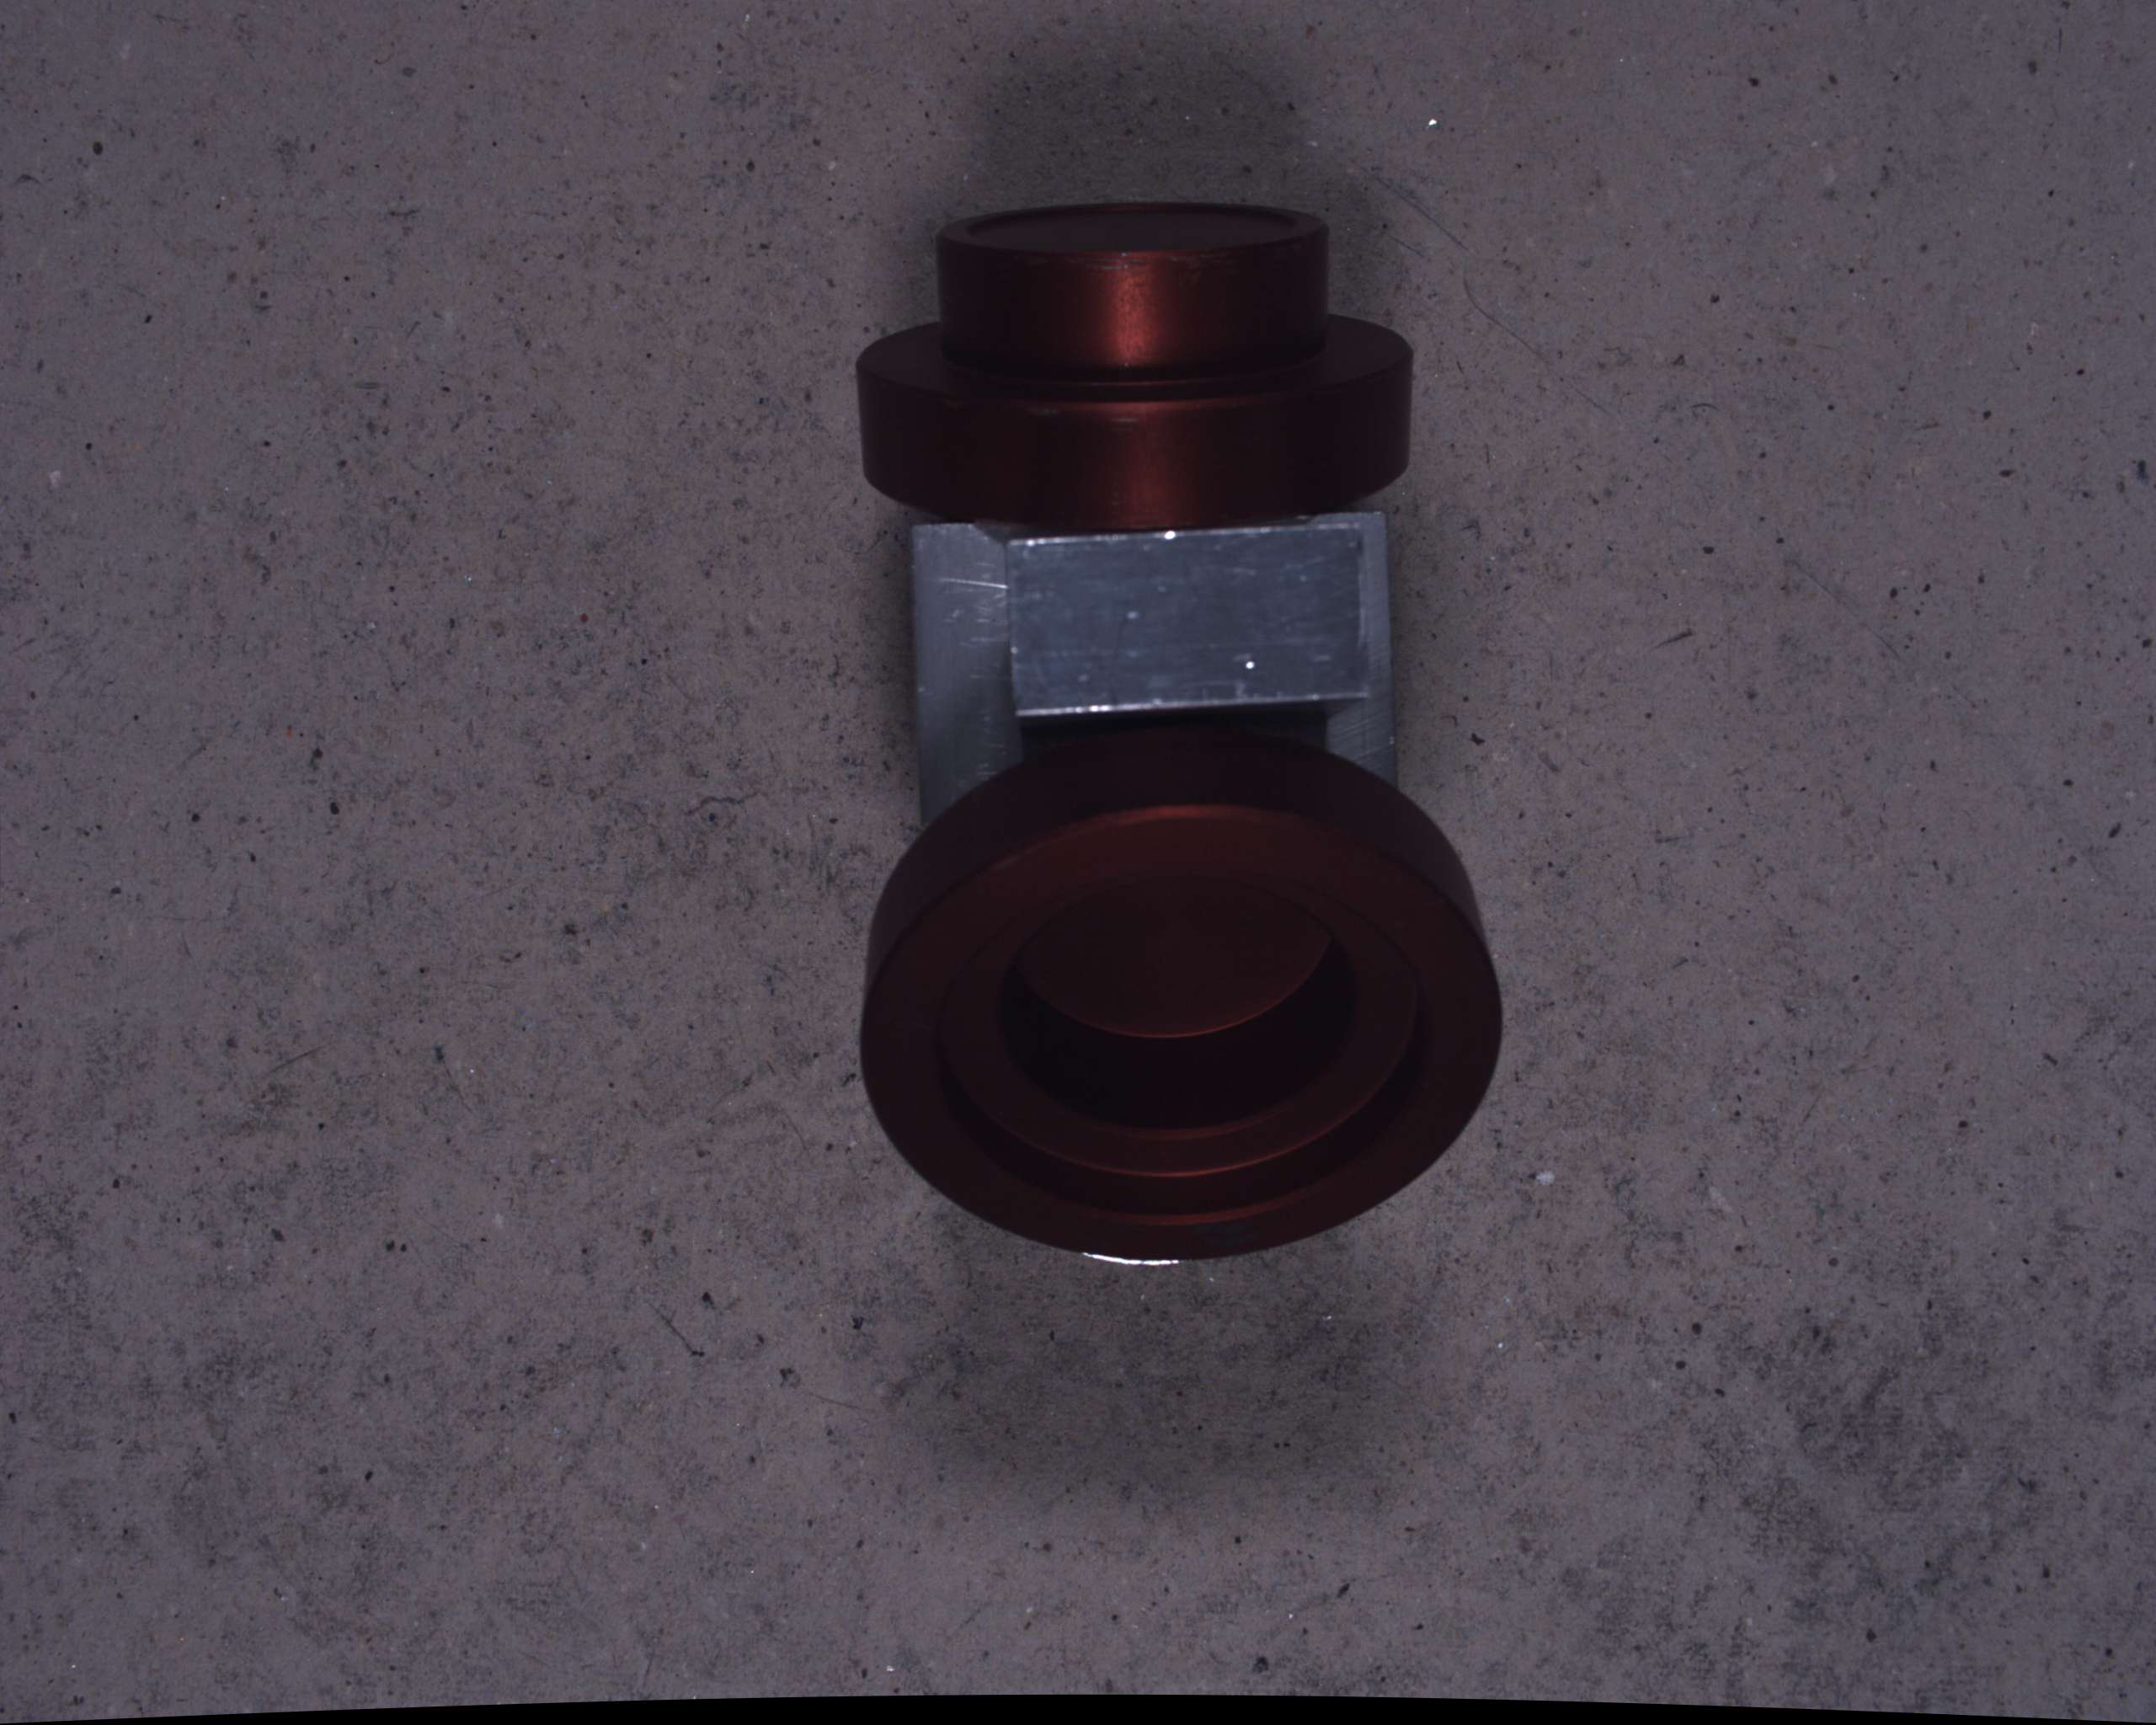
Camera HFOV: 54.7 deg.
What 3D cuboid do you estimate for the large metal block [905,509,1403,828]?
[{"bbox_3d":[0.012,-0.032,0.383,0.081,0.080,0.050,-2,90,-1],"label":"large metal block"}]

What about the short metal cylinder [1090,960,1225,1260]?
[{"bbox_3d":[0.013,0.033,0.400,0.081,0.050,0.079,0,90,-1],"label":"short metal cylinder"}]

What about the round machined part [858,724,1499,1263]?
[{"bbox_3d":[0.015,0.017,0.337,0.099,0.042,0.097,-1,129,-1],"label":"round machined part"}]

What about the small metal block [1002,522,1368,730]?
[{"bbox_3d":[0.015,-0.034,0.318,0.050,0.050,0.025,-3,90,0],"label":"small metal block"}]

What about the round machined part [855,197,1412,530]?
[{"bbox_3d":[0.010,-0.092,0.371,0.099,0.098,0.042,-2,115,-1],"label":"round machined part"}]
